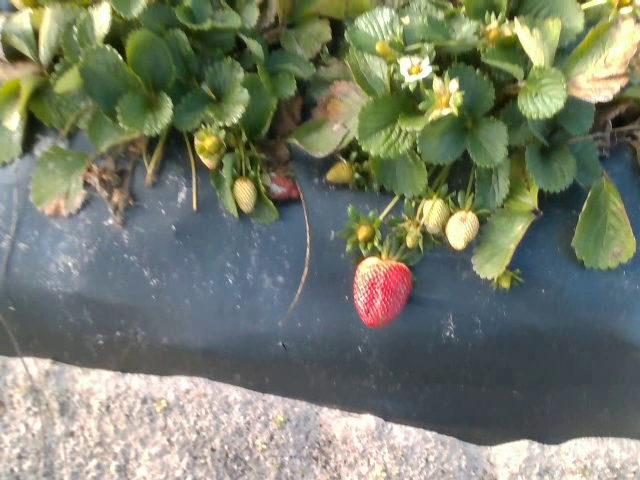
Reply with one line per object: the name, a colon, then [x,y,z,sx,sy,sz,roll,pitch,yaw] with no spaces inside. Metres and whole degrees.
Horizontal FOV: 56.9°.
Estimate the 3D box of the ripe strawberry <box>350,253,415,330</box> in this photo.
ripe strawberry: [0.053,0.047,0.528,0.052,0.068,0.045,9,-28,4]
